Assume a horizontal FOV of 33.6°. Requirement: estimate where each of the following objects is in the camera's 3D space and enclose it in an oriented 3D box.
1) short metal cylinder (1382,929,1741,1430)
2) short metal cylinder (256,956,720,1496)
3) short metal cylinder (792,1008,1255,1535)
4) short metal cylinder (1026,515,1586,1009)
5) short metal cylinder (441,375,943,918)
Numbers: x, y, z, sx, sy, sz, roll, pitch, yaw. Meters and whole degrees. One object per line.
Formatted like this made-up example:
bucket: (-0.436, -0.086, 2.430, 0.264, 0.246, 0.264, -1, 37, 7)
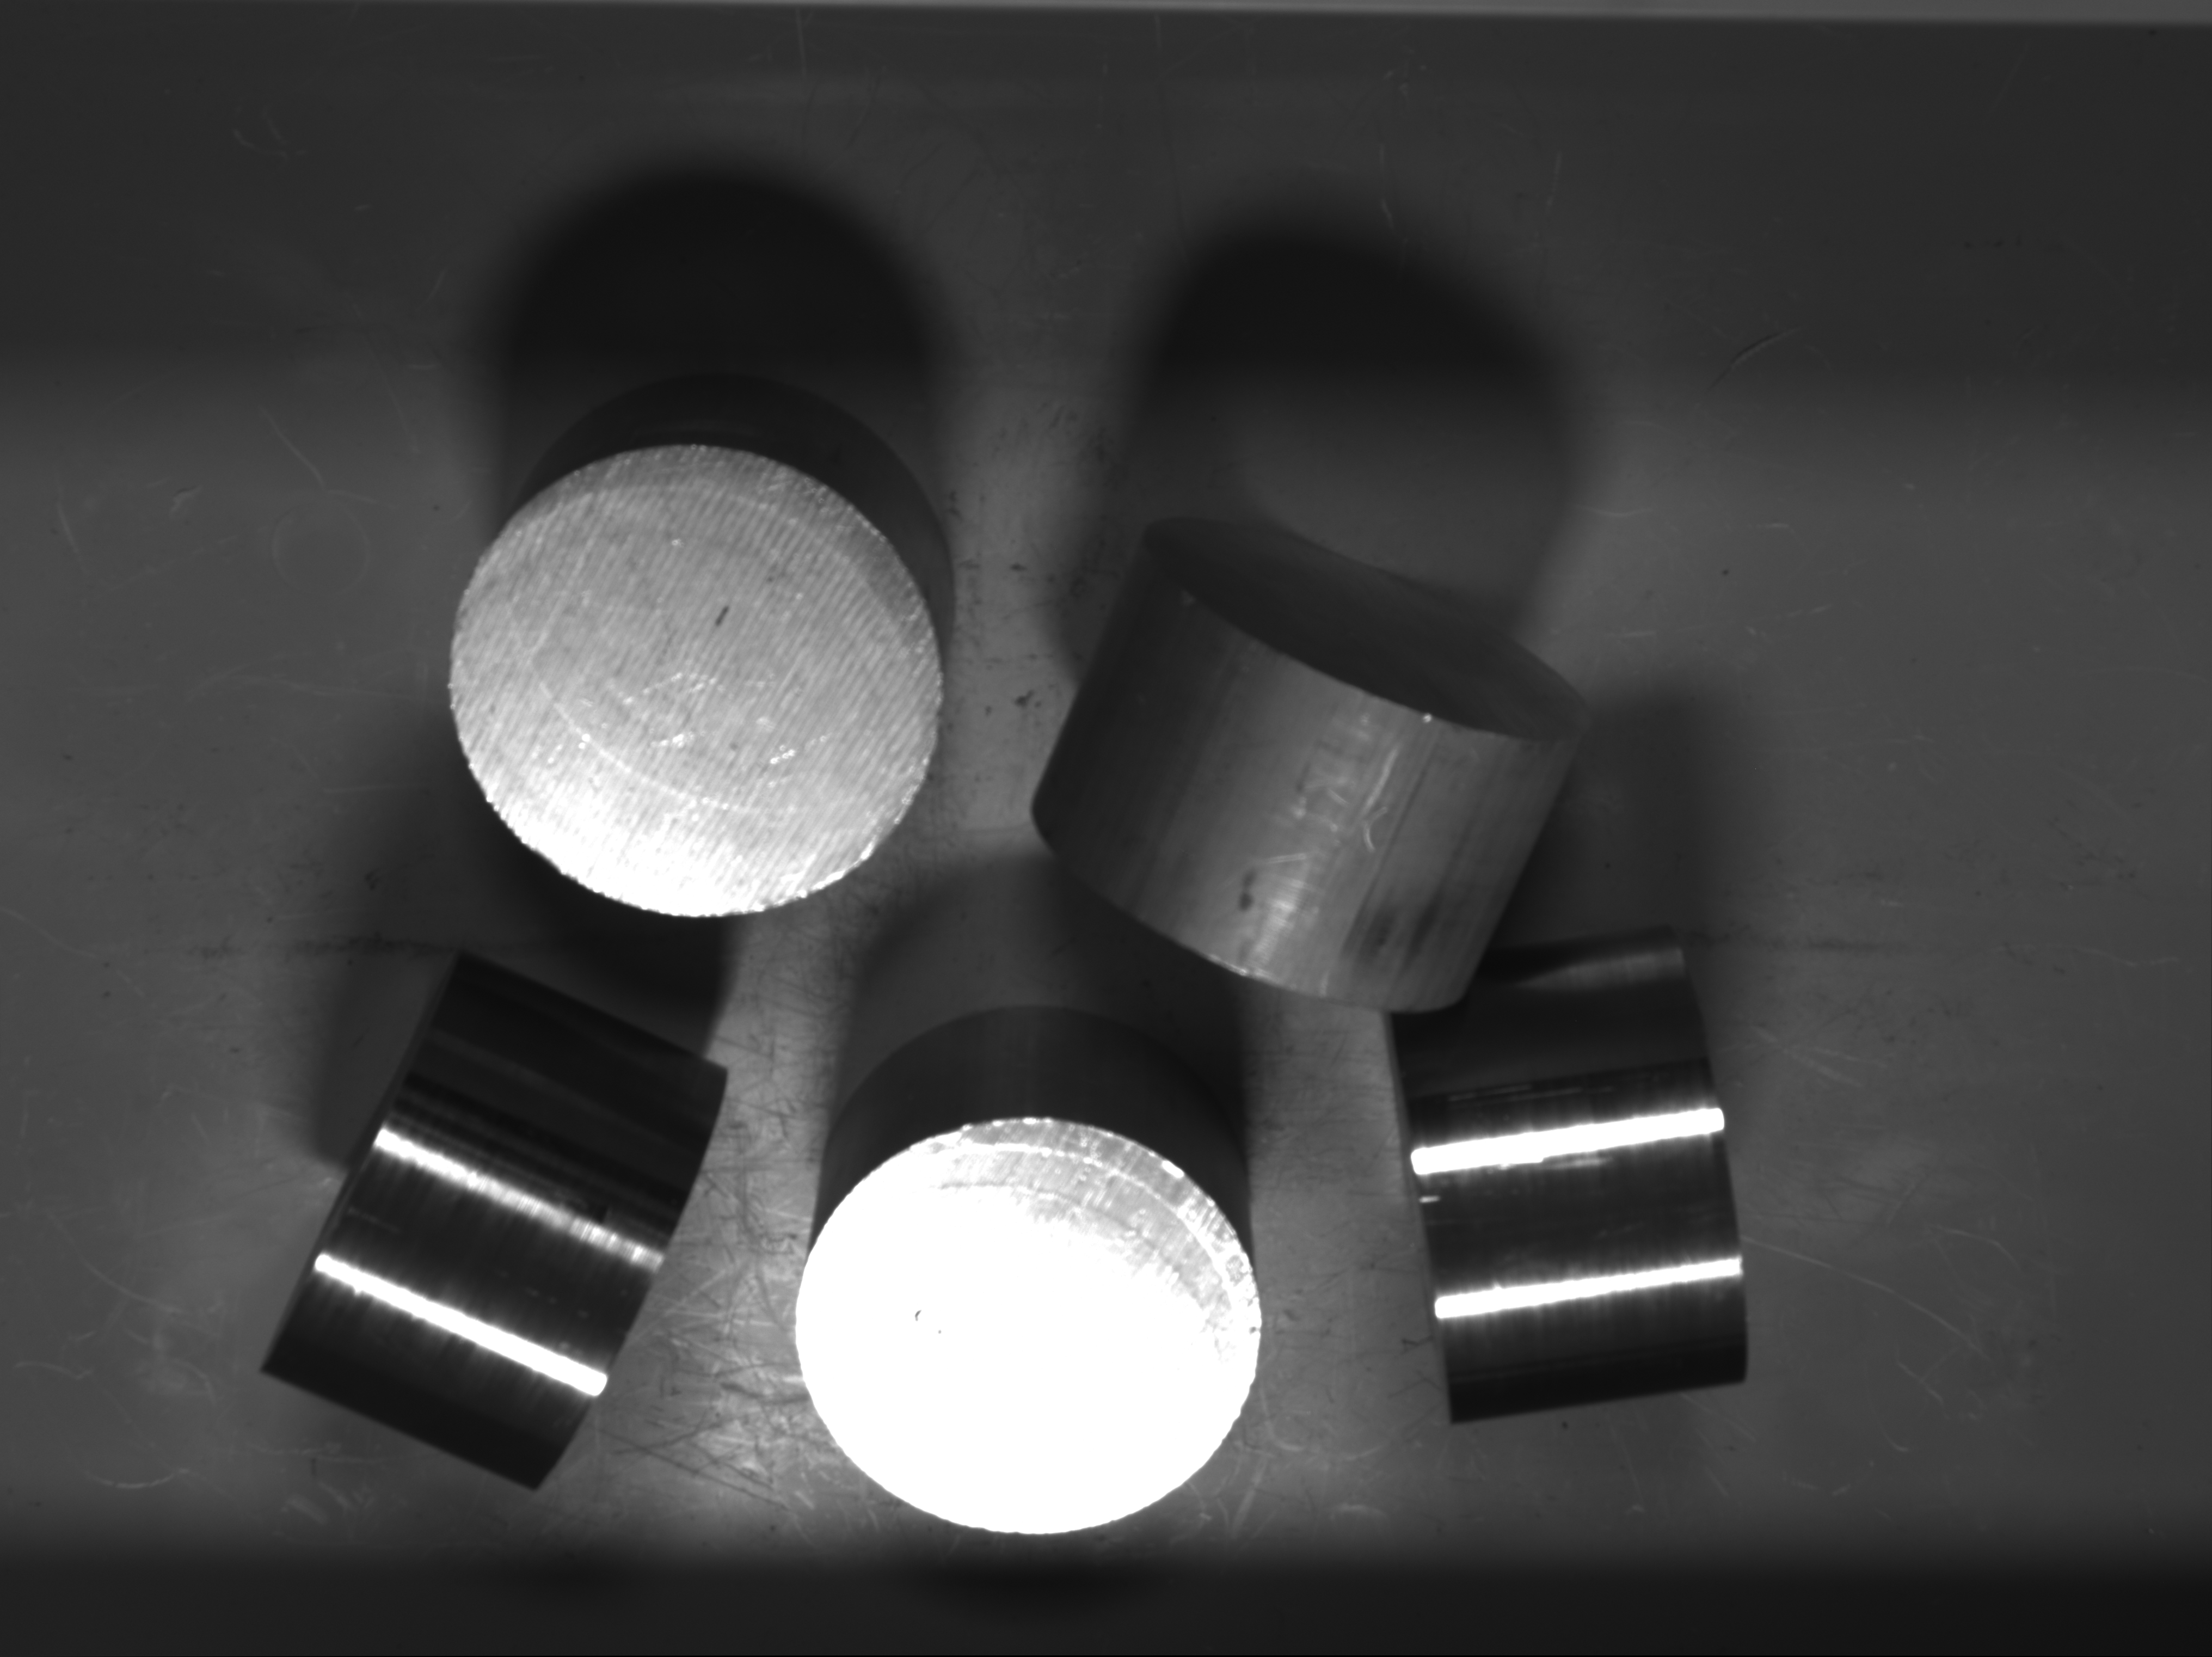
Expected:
short metal cylinder: (0.077, 0.061, 0.635, 0.050, 0.080, 0.080, -8, 110, 3)
short metal cylinder: (-0.107, 0.069, 0.635, 0.050, 0.080, 0.080, 26, 108, -9)
short metal cylinder: (-0.014, 0.079, 0.657, 0.080, 0.050, 0.080, 0, 110, -1)
short metal cylinder: (0.033, -0.012, 0.610, 0.080, 0.080, 0.050, 21, 108, -8)
short metal cylinder: (-0.068, -0.031, 0.616, 0.080, 0.050, 0.080, 0, 110, -1)
